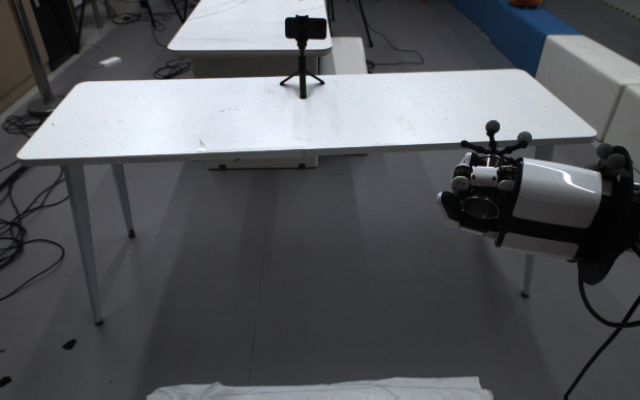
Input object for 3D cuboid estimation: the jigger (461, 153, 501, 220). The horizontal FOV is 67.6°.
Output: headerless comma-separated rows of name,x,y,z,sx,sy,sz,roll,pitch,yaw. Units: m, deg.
jigger,0.202,-0.020,0.584,0.043,0.043,0.071,15,58,18
